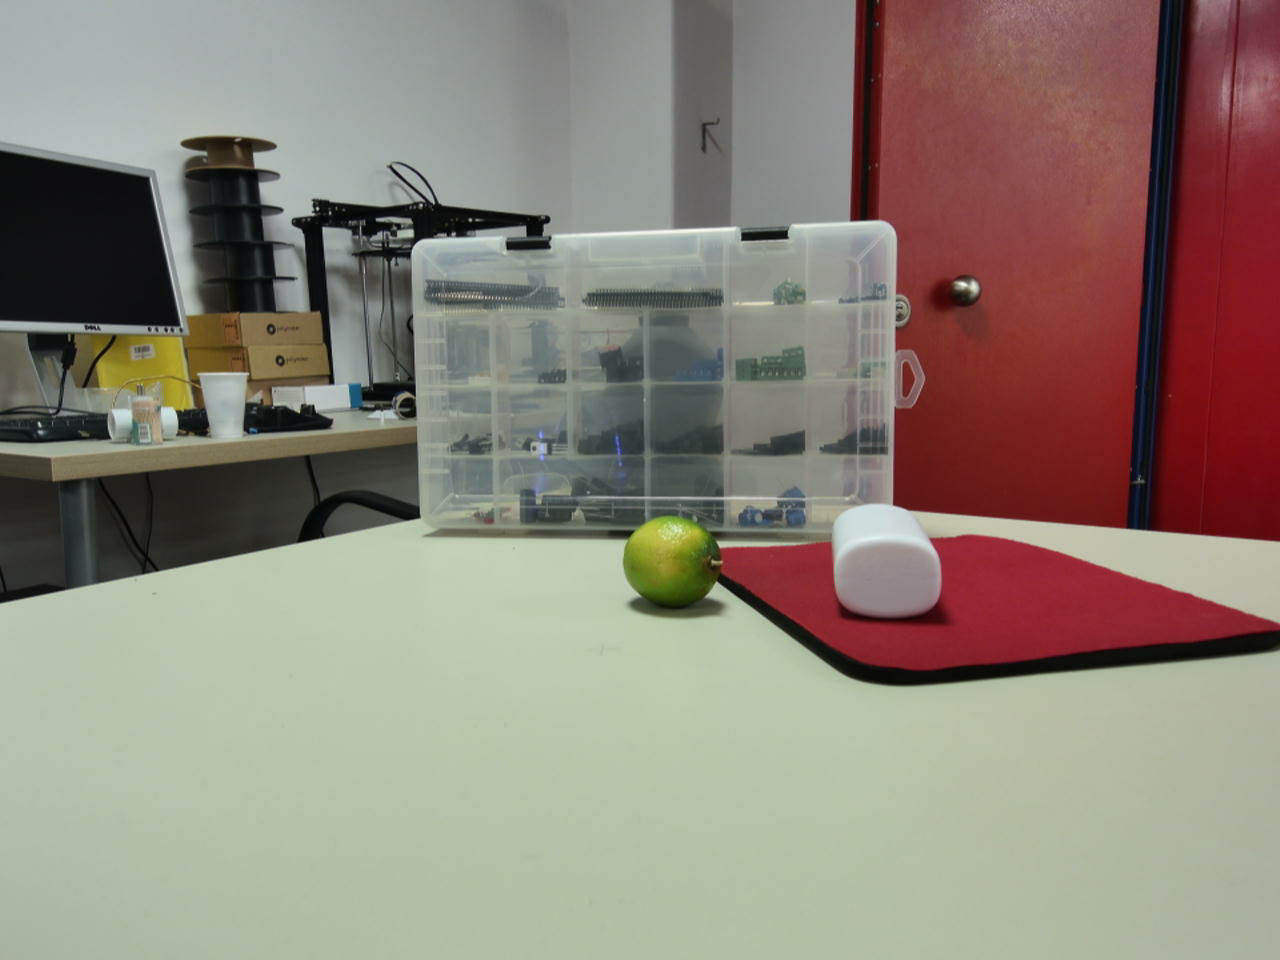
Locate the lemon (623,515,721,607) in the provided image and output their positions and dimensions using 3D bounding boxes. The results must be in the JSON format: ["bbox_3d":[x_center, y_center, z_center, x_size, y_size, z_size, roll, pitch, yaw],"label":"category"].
[{"bbox_3d":[0.018,0.045,0.567,0.054,0.050,0.055,-1,6,-4],"label":"lemon"}]
